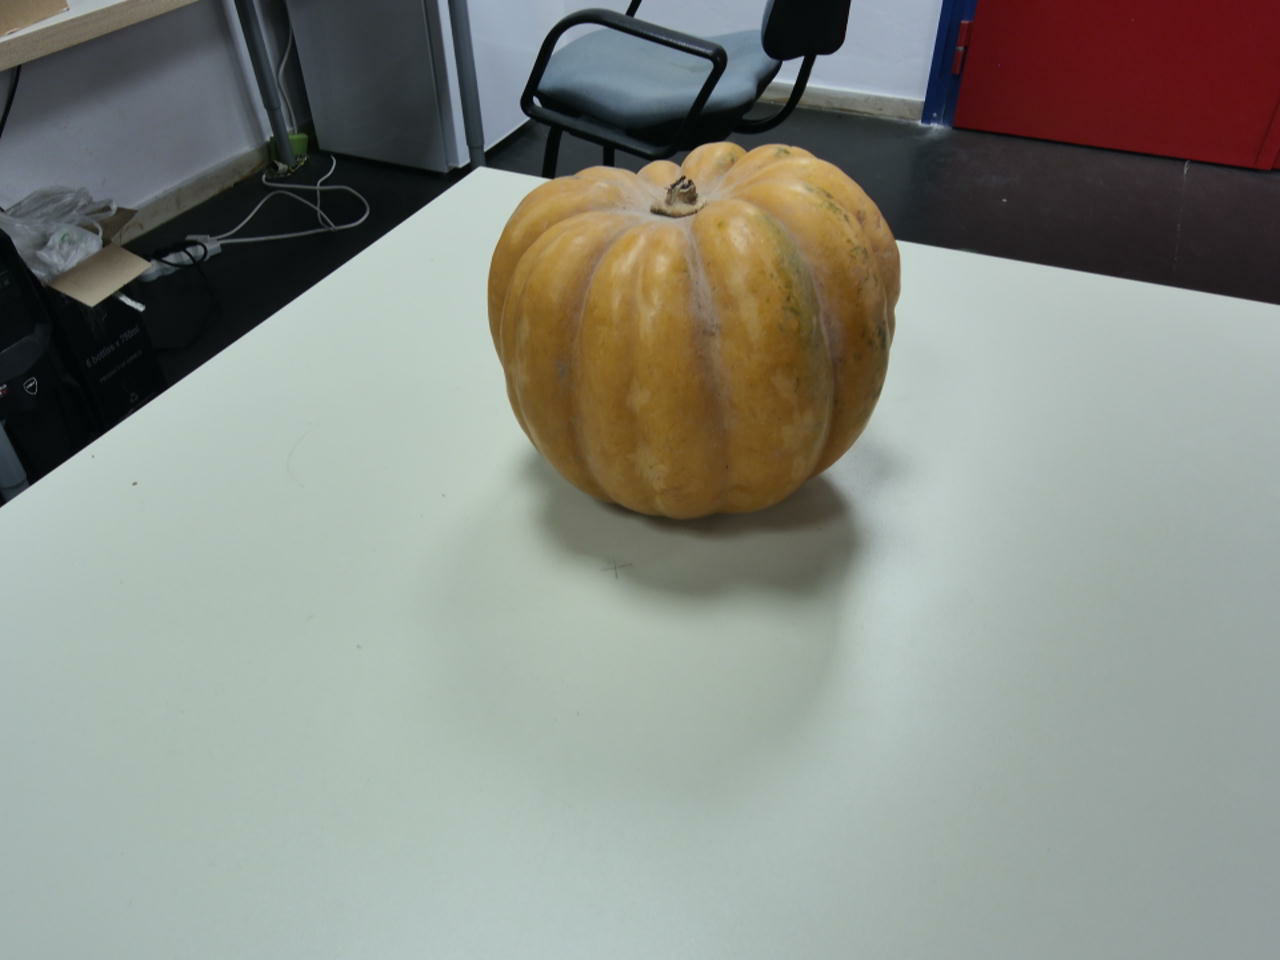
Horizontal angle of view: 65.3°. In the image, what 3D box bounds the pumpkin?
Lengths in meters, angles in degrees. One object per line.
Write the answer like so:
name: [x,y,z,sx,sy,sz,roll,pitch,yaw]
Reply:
pumpkin: [0.031,-0.083,0.560,0.230,0.194,0.230,0,39,0]
